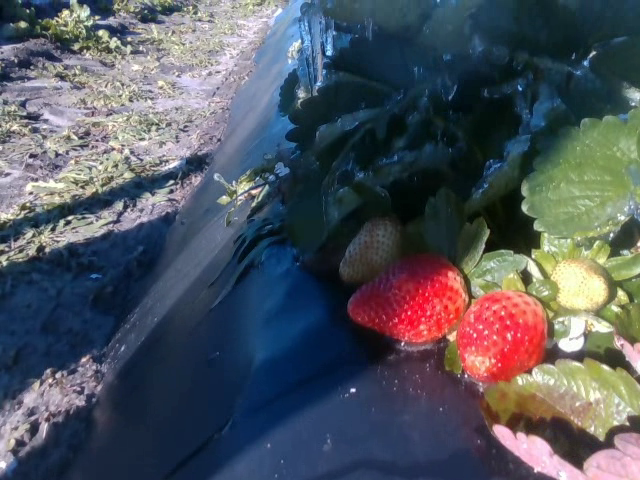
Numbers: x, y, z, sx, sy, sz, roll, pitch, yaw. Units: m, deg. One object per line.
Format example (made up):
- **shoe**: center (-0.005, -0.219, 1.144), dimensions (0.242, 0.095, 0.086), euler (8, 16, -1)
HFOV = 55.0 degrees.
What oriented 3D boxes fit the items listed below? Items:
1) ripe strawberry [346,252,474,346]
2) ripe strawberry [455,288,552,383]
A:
- **ripe strawberry**: center (0.029, 0.025, 0.233), dimensions (0.051, 0.040, 0.036), euler (-5, 6, -32)
- **ripe strawberry**: center (0.062, 0.035, 0.212), dimensions (0.036, 0.030, 0.041), euler (-18, 24, 39)
